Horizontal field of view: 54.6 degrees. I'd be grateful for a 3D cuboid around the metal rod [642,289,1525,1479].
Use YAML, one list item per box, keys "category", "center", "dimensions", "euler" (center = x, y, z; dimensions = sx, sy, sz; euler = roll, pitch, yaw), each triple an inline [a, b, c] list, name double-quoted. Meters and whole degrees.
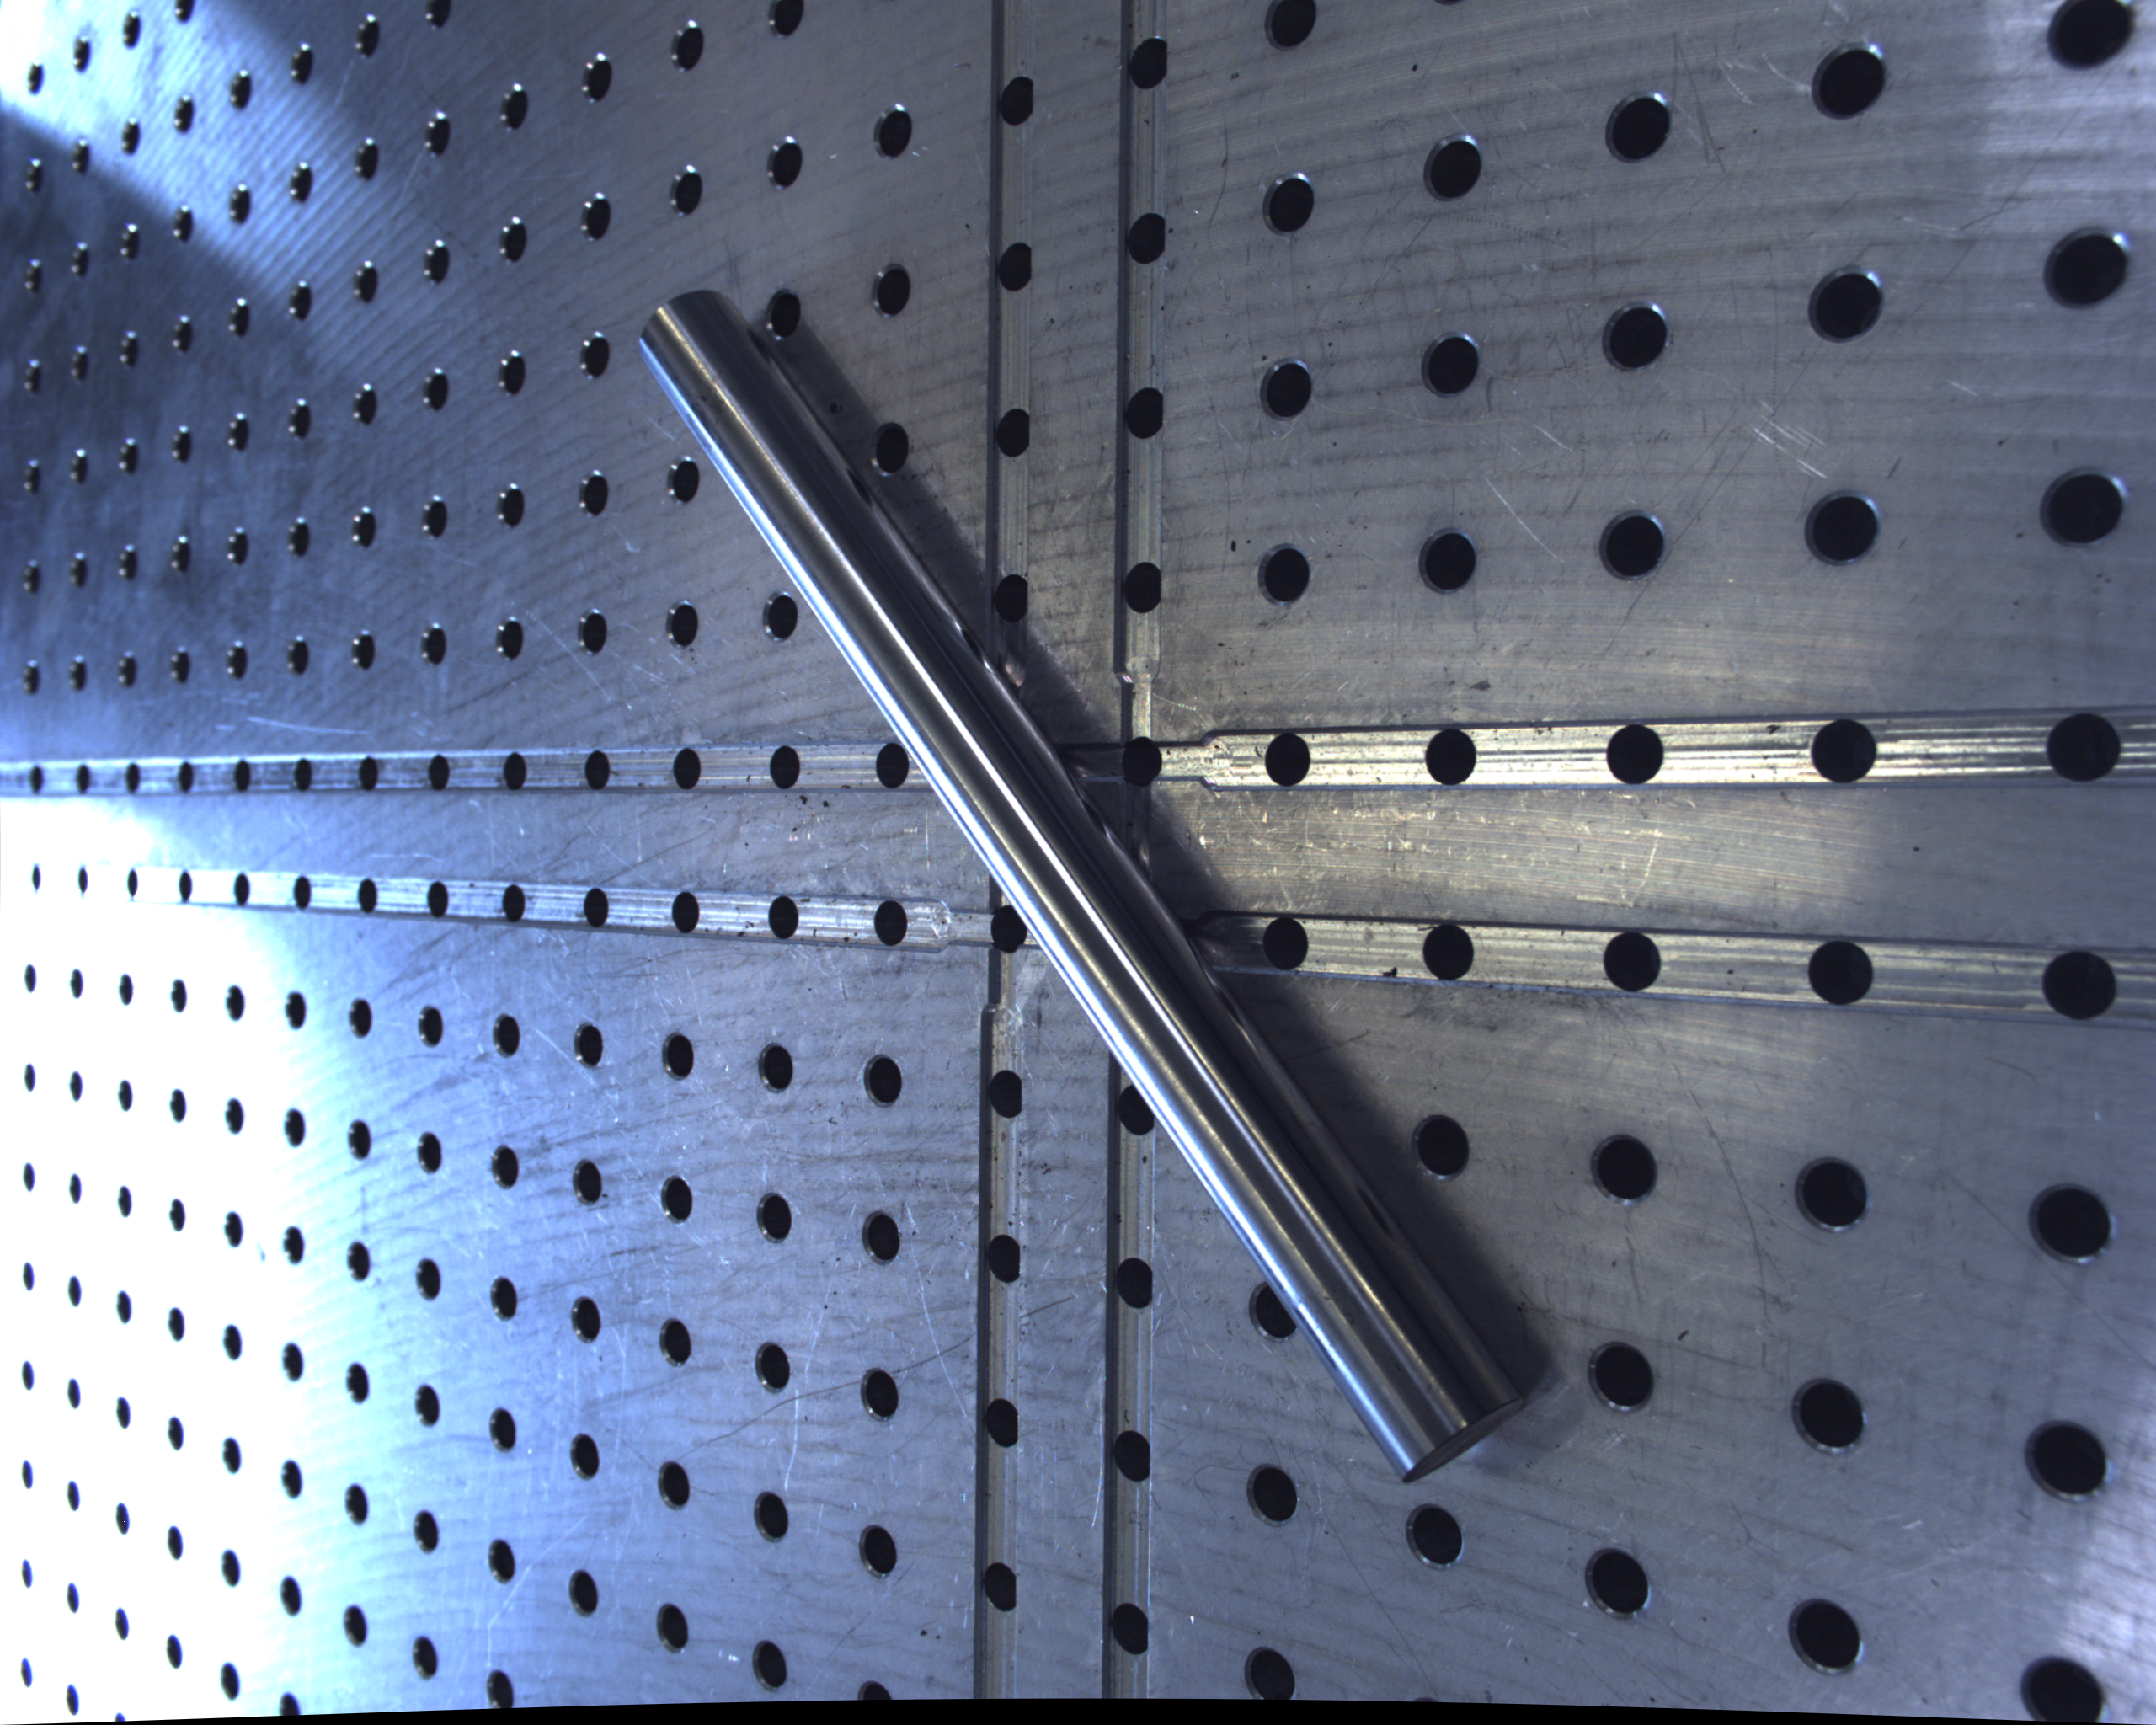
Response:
- category: "metal rod"
  center: [-0.012, -0.012, 0.421]
  dimensions: [0.025, 0.025, 0.299]
  euler: [-50, 61, 28]
